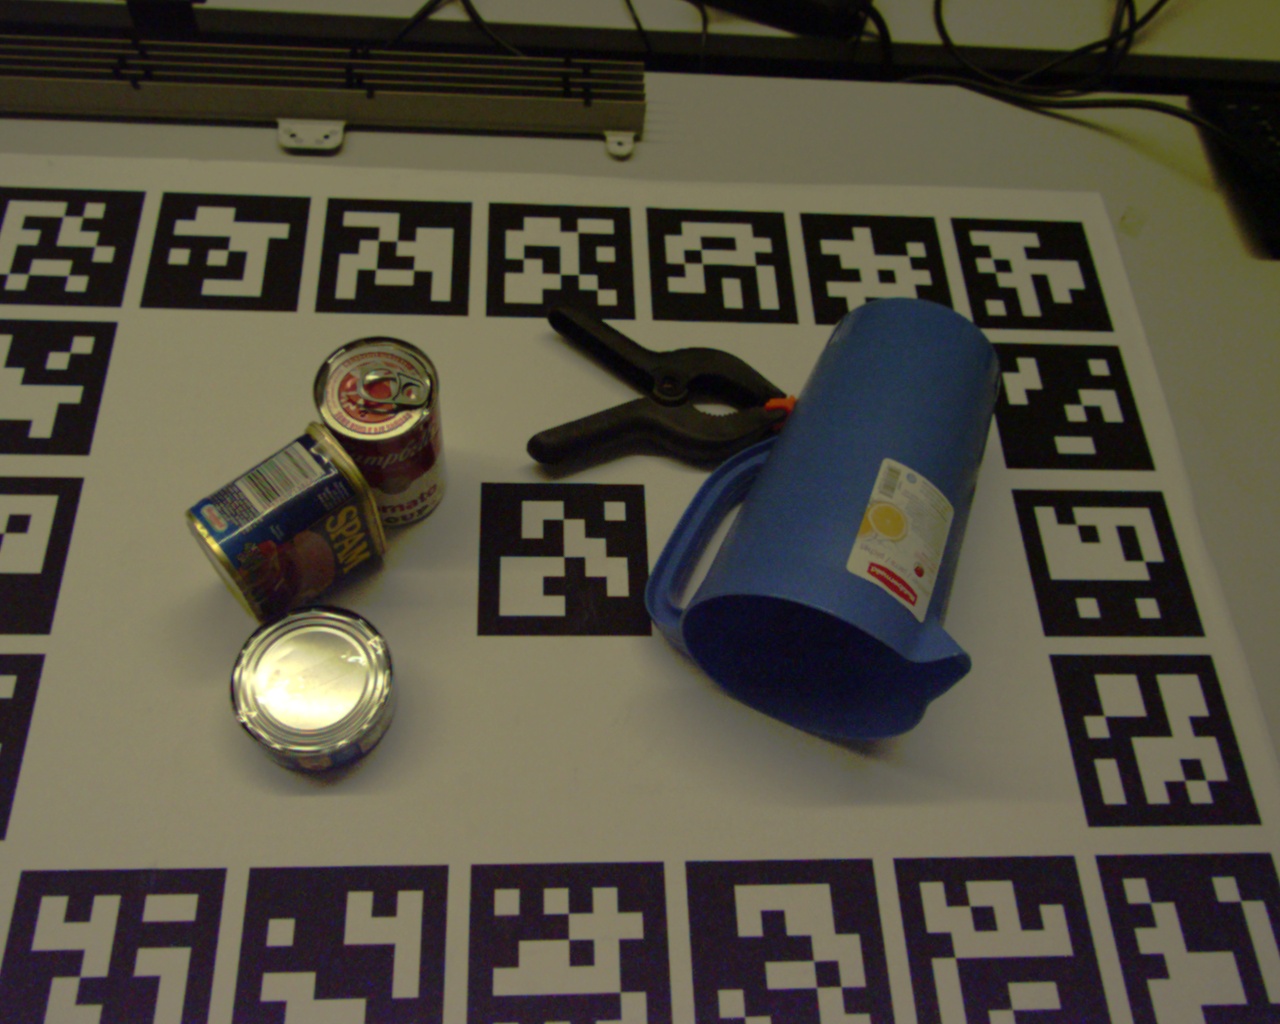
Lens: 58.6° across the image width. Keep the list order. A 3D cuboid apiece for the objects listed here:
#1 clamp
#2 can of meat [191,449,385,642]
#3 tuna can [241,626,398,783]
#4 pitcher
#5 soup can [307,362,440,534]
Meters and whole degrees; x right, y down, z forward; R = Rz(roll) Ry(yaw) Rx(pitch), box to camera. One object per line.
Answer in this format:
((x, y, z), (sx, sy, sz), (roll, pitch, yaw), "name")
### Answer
((-0.013, -0.071, 0.779), (0.164, 0.036, 0.122), (3, 58, -8), "clamp")
((-0.203, 0.023, 0.661), (0.083, 0.102, 0.058), (-36, 73, -18), "can of meat")
((-0.183, 0.111, 0.657), (0.085, 0.034, 0.086), (2, 64, -5), "tuna can")
((0.112, -0.001, 0.685), (0.191, 0.132, 0.242), (7, 52, 23), "pitcher")
((-0.161, -0.036, 0.701), (0.068, 0.102, 0.068), (1, 64, -3), "soup can")
